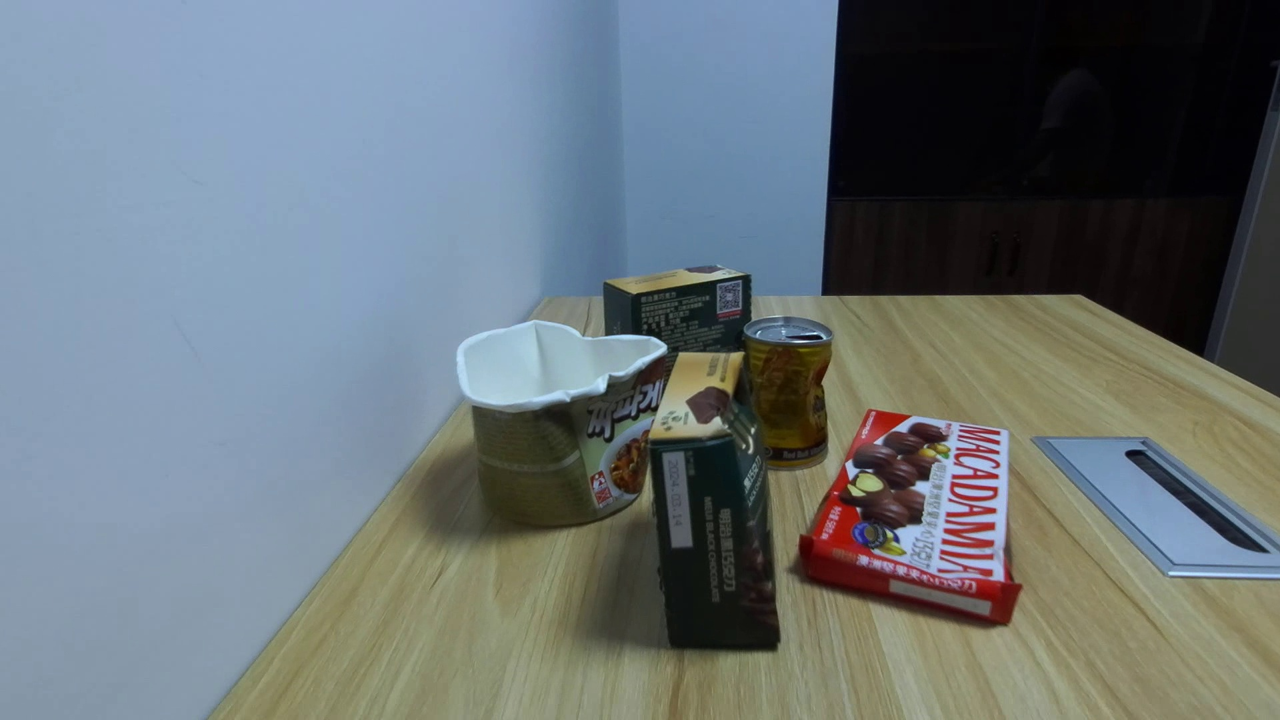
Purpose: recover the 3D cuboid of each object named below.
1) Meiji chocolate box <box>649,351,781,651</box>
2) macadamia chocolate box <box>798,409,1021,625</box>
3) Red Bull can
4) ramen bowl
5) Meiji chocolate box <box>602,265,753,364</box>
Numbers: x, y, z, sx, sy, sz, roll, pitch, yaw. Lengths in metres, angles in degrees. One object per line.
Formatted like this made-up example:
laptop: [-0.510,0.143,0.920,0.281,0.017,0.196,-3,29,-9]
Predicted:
Meiji chocolate box: [0.039,0.065,0.365,0.051,0.117,0.117,-6,18,11]
macadamia chocolate box: [0.167,0.082,0.423,0.105,0.028,0.183,8,23,24]
Red Bull can: [0.100,0.021,0.490,0.072,0.092,0.072,-1,21,1]
ramen bowl: [-0.056,0.039,0.446,0.113,0.097,0.134,11,23,27]
Meiji chocolate box: [0.032,-0.016,0.574,0.113,0.111,0.058,-13,22,-27]
